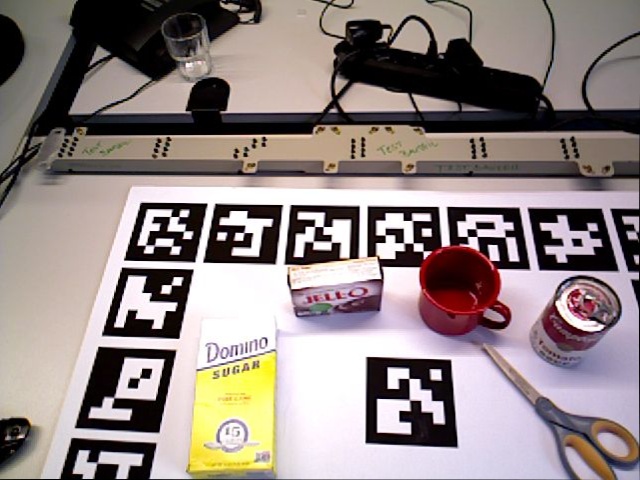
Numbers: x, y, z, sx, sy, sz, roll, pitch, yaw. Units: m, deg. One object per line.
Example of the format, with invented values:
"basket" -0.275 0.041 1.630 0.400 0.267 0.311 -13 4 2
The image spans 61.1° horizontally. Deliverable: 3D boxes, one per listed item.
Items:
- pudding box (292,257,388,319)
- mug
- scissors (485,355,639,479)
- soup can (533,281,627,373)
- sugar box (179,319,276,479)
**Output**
"pudding box" 0.025 0.057 0.647 0.113 0.091 0.038 -6 64 -1
"mug" 0.174 0.065 0.641 0.092 0.083 0.116 -31 60 -12
"scissors" 0.259 0.199 0.591 0.087 0.016 0.202 -40 65 -7
"soup can" 0.286 0.100 0.608 0.068 0.104 0.067 -2 57 3
"sugar box" -0.101 0.178 0.620 0.093 0.046 0.174 -2 61 5
